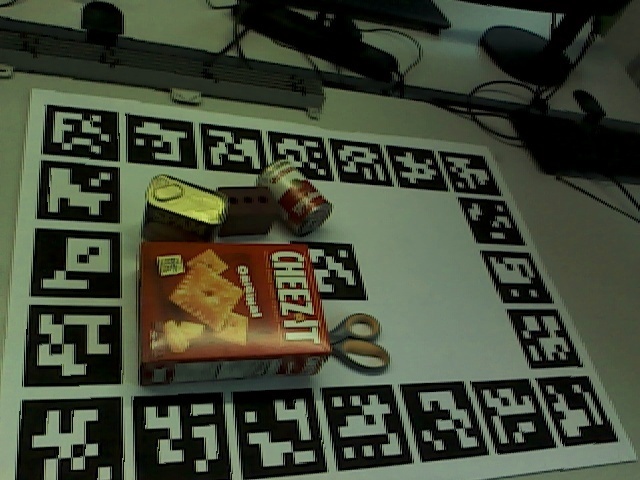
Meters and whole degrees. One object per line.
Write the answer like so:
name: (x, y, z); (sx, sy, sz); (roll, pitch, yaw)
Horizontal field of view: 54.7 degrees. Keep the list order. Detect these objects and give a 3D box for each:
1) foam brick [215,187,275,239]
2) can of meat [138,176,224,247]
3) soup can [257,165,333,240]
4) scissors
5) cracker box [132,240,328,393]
foam brick: (-0.112, -0.039, 0.892); (0.077, 0.051, 0.053); (-6, 59, -27)
can of meat: (-0.189, -0.029, 0.826); (0.101, 0.084, 0.058); (15, 51, -13)
soup can: (-0.040, -0.058, 0.935); (0.102, 0.068, 0.067); (41, 50, 17)
scissors: (-0.012, 0.138, 0.807); (0.202, 0.016, 0.088); (-1, 56, -23)
cracker box: (-0.115, 0.085, 0.762); (0.212, 0.072, 0.165); (-3, 56, -21)
